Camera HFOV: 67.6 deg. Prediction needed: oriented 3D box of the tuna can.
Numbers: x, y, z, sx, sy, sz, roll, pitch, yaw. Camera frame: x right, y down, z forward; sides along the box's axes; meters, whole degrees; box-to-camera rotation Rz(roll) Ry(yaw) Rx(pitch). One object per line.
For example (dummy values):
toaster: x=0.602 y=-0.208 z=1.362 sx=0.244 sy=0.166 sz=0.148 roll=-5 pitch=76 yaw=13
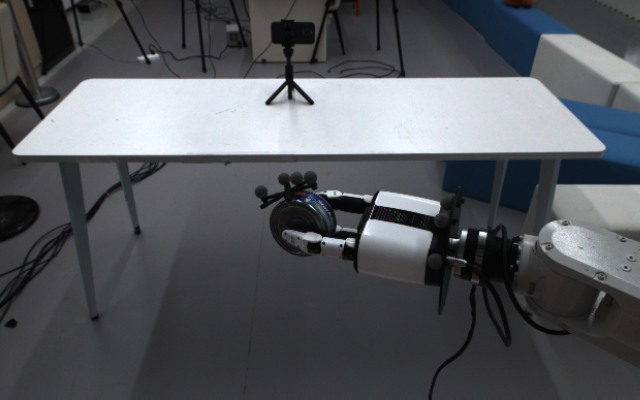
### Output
tuna can: x=-0.020 y=0.038 z=0.644 sx=0.085 sy=0.085 sz=0.034 roll=15 pitch=29 yaw=18
